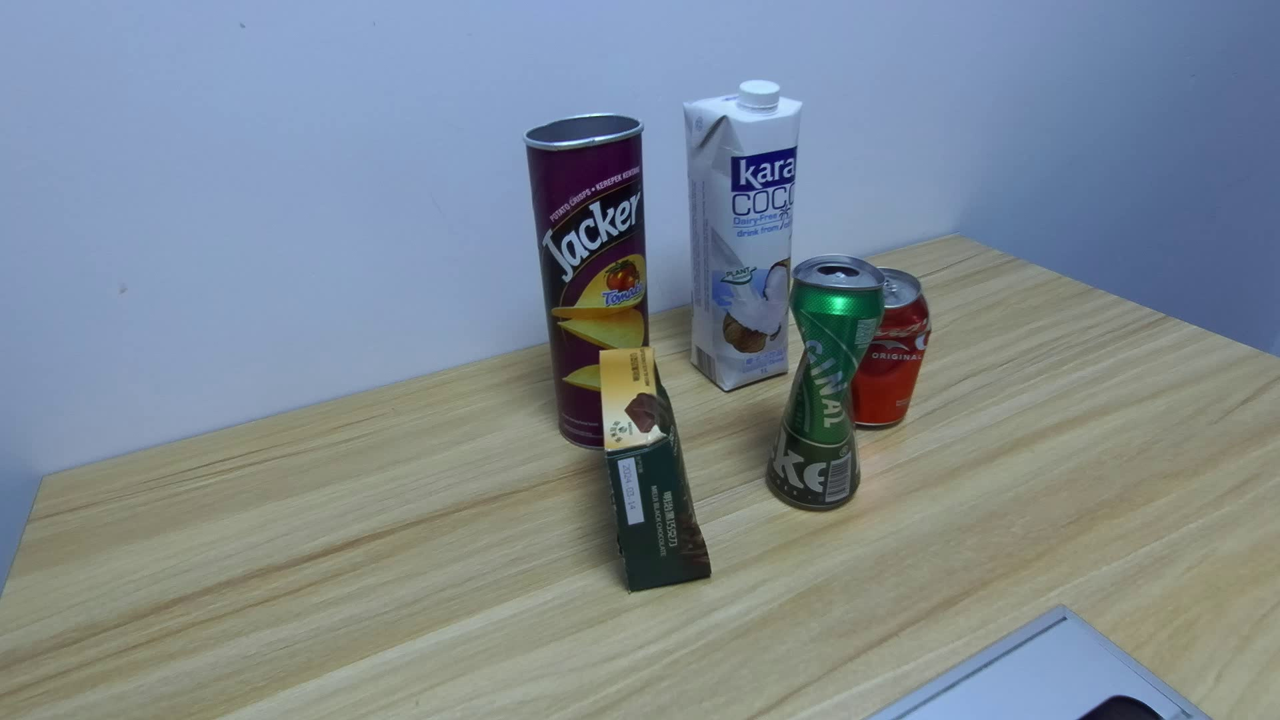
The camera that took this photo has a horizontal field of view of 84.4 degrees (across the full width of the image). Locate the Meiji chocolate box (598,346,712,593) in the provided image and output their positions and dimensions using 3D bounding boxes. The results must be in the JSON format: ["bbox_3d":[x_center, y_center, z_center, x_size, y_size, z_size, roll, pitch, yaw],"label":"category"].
[{"bbox_3d":[0.007,0.064,0.447,0.058,0.111,0.113,-9,30,-5],"label":"Meiji chocolate box"}]

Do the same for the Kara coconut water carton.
[{"bbox_3d":[0.083,-0.098,0.577,0.077,0.245,0.075,-15,30,-20],"label":"Kara coconut water carton"}]

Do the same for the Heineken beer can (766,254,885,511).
[{"bbox_3d":[0.120,0.019,0.465,0.078,0.164,0.065,-20,34,-34],"label":"Heineken beer can"}]

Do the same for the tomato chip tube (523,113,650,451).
[{"bbox_3d":[-0.030,-0.051,0.521,0.080,0.234,0.076,-7,30,-7],"label":"tomato chip tube"}]

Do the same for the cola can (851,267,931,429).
[{"bbox_3d":[0.187,-0.010,0.553,0.072,0.117,0.065,8,35,19],"label":"cola can"}]
